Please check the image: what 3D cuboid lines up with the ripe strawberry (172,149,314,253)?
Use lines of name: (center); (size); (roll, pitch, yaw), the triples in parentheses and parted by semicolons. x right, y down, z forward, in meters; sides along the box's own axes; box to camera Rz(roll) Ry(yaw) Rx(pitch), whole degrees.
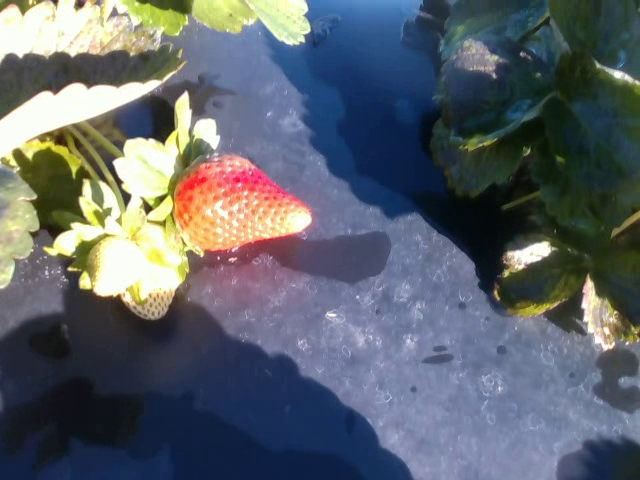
ripe strawberry: (-0.030, -0.013, 0.247); (0.064, 0.050, 0.052); (11, 6, 11)
